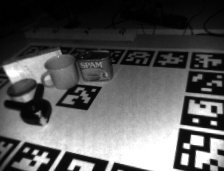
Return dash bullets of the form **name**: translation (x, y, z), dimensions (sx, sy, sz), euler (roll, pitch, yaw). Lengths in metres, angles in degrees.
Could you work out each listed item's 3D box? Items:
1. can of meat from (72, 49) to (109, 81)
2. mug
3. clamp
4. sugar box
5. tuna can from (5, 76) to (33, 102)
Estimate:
- **can of meat**: translation (-0.062, -0.061, 0.658), dimensions (0.101, 0.084, 0.058), euler (1, 40, 13)
- **mug**: translation (-0.173, -0.044, 0.651), dimensions (0.092, 0.082, 0.118), euler (28, 55, 37)
- **clamp**: translation (-0.228, 0.060, 0.589), dimensions (0.123, 0.037, 0.163), euler (-27, 46, -25)
- **sugar box**: translation (-0.253, -0.060, 0.695), dimensions (0.177, 0.093, 0.045), euler (-18, 38, -10)
- **tuna can**: translation (-0.282, 0.013, 0.650), dimensions (0.085, 0.034, 0.085), euler (-7, 41, 7)
